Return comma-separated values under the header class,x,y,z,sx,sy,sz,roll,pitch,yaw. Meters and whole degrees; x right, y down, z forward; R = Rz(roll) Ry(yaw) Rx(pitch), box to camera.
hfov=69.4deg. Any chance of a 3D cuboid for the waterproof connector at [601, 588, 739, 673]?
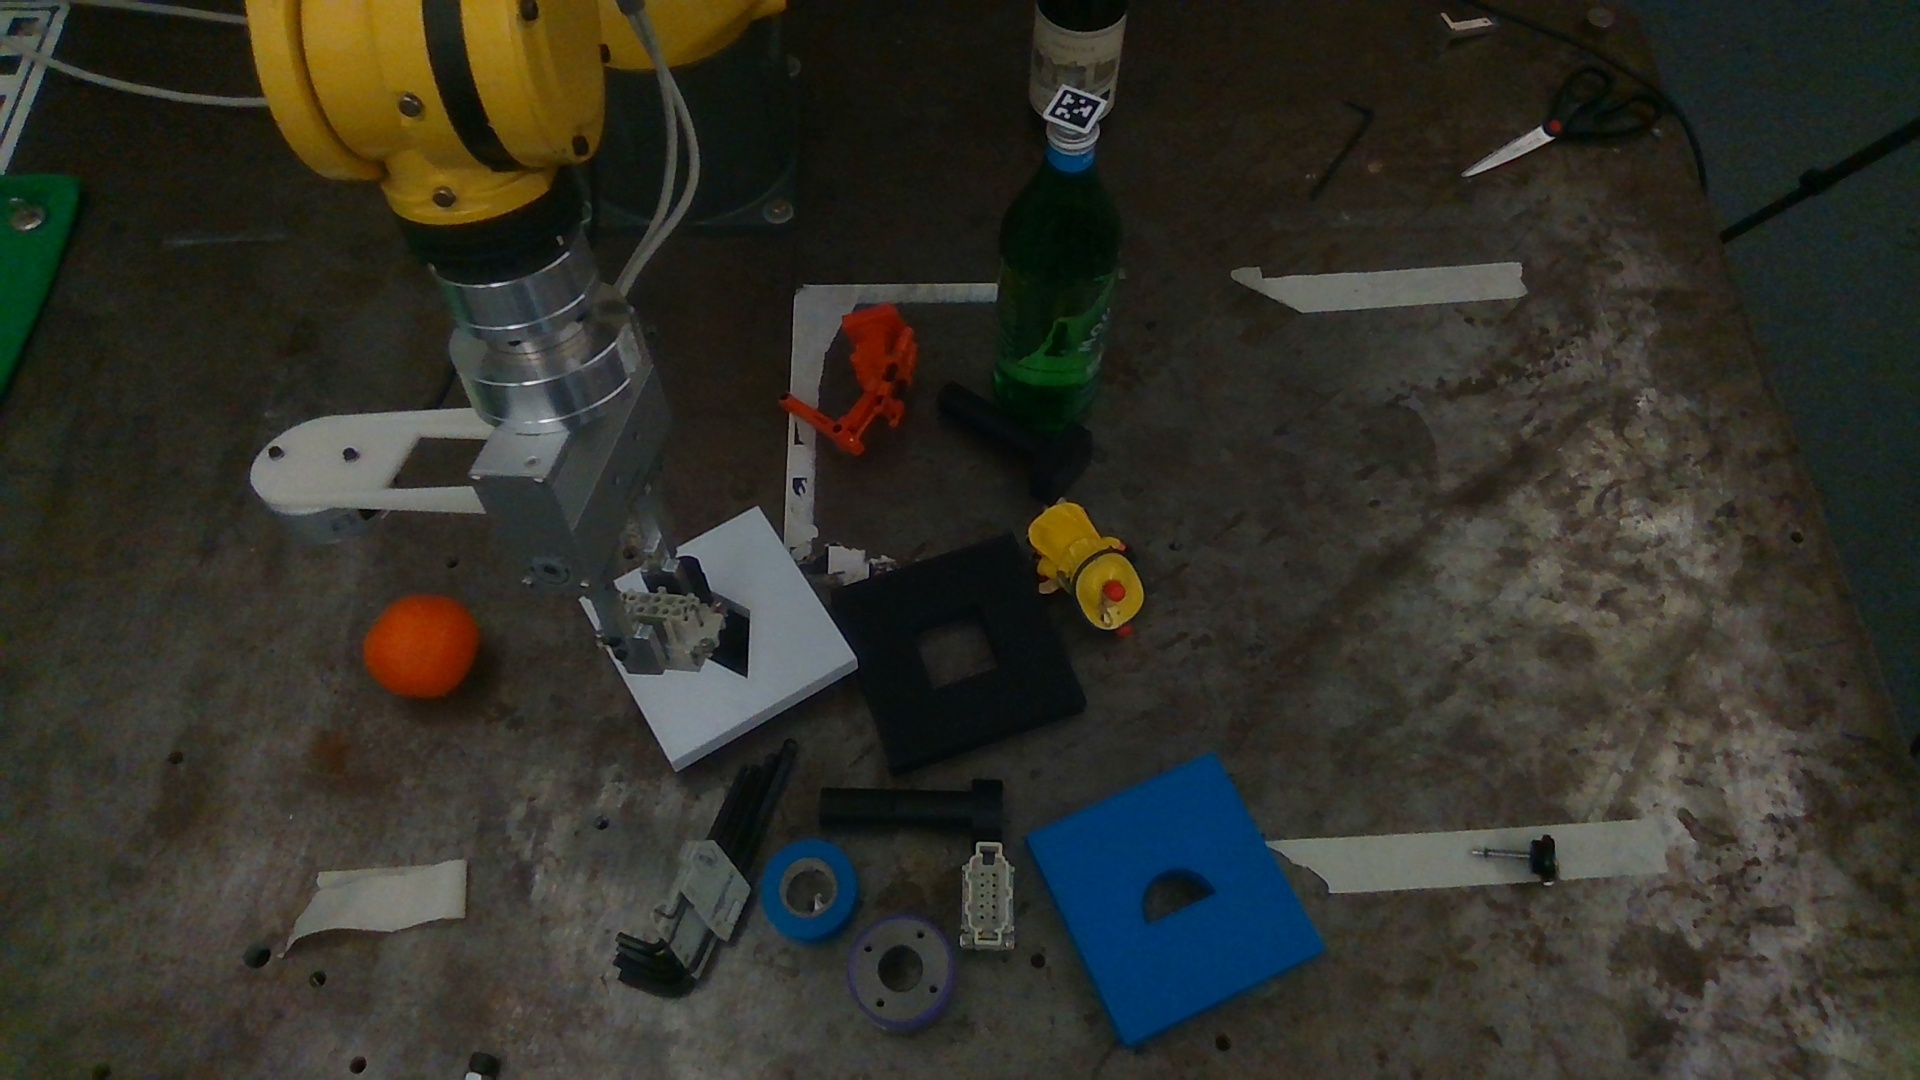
class,x,y,z,sx,sy,sz,roll,pitch,yaw
waterproof connector,-0.153,0.046,0.734,0.069,0.038,0.036,1,53,11
